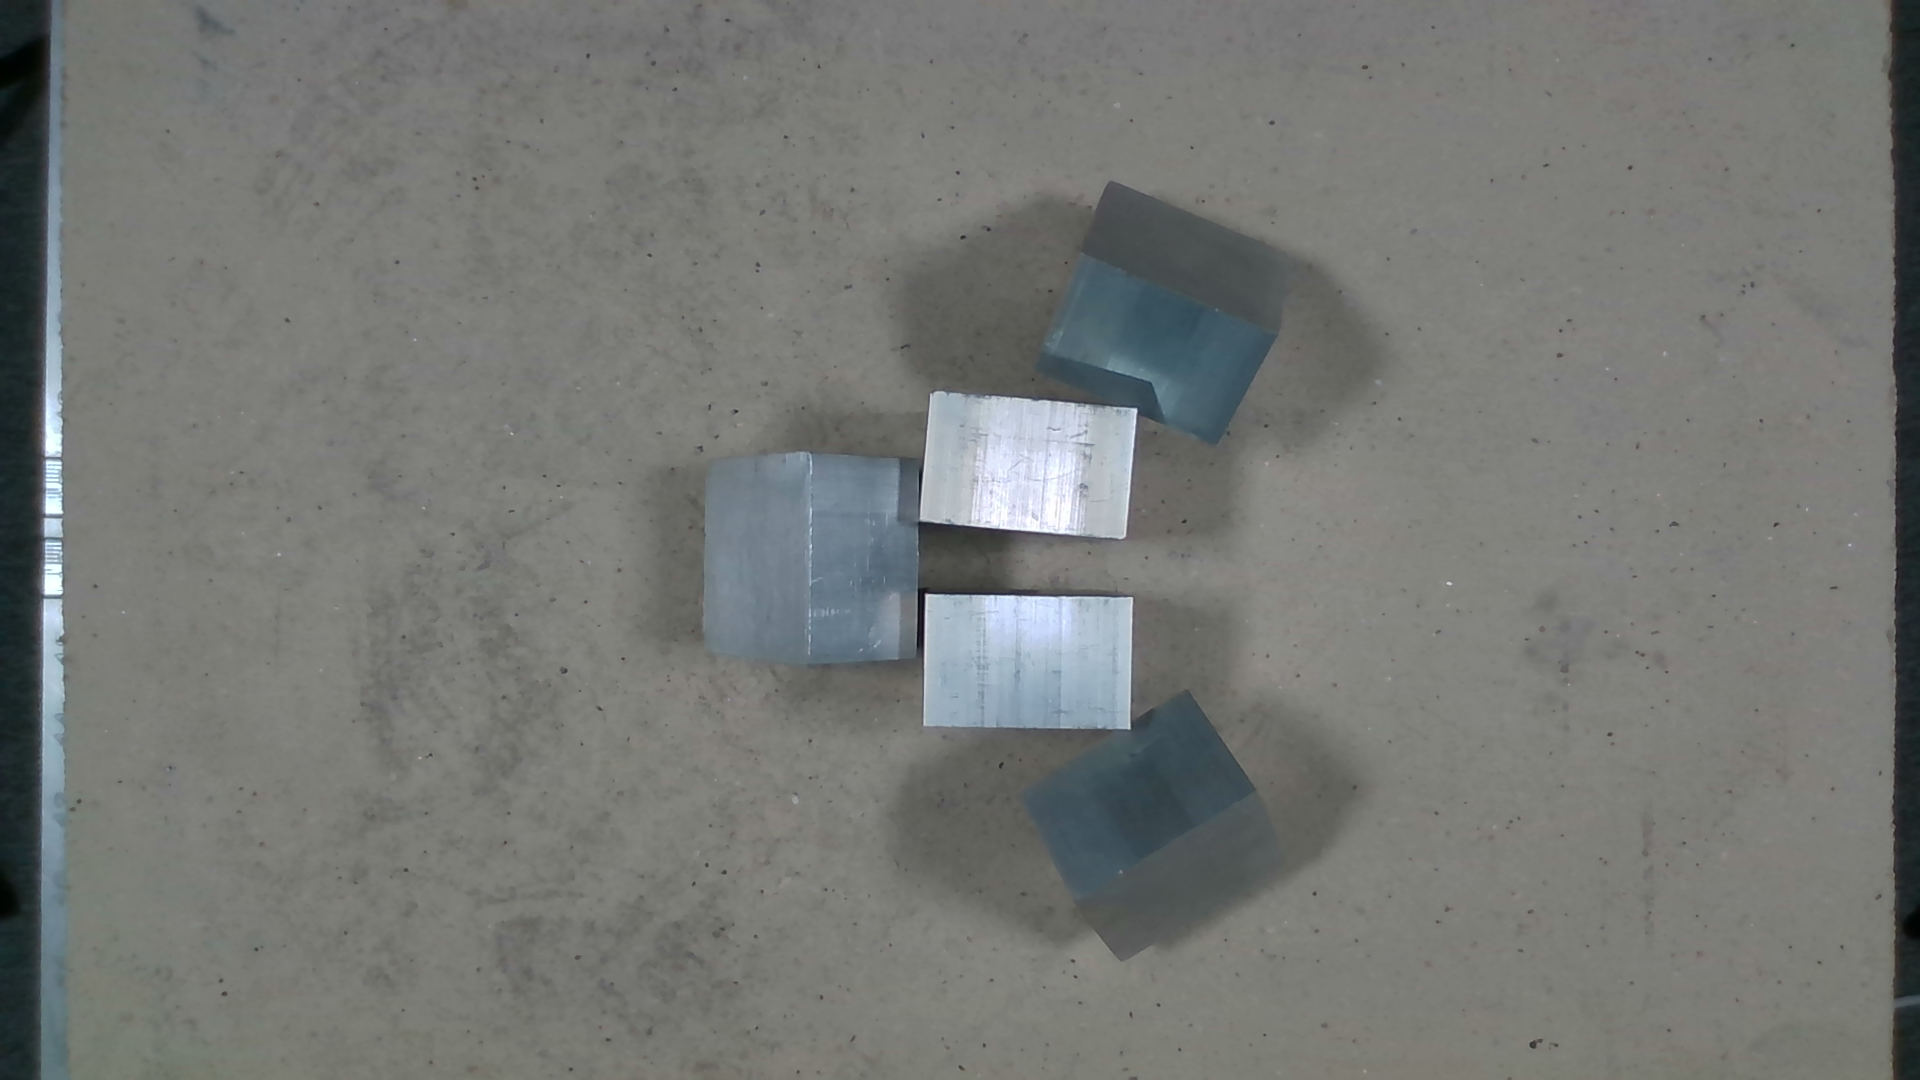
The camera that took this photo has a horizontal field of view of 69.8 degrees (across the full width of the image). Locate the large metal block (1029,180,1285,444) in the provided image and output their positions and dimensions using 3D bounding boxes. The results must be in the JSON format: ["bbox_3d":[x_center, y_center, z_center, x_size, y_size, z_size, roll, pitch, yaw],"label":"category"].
[{"bbox_3d":[0.080,-0.093,0.550,0.080,0.080,0.050,23,126,0],"label":"large metal block"}]

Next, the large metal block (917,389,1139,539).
[{"bbox_3d":[0.026,-0.029,0.560,0.080,0.080,0.050,5,90,0],"label":"large metal block"}]

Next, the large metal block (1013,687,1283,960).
[{"bbox_3d":[0.078,0.116,0.554,0.080,0.080,0.050,-31,53,0],"label":"large metal block"}]

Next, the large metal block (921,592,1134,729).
[{"bbox_3d":[0.025,0.046,0.560,0.080,0.080,0.050,1,90,0],"label":"large metal block"}]

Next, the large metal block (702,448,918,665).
[{"bbox_3d":[-0.062,0.006,0.553,0.050,0.080,0.080,1,90,-39],"label":"large metal block"}]
